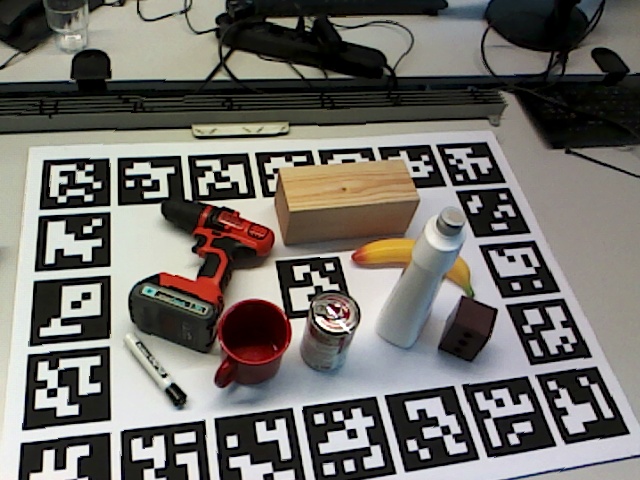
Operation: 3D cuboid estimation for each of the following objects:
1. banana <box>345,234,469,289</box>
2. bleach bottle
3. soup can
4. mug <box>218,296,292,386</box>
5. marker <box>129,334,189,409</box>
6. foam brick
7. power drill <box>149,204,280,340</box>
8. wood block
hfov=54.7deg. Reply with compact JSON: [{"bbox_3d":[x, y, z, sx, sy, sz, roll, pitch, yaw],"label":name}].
[{"bbox_3d":[0.138,0.026,0.965,0.197,0.039,0.074,10,65,-5],"label":"banana"},{"bbox_3d":[0.138,0.048,0.816,0.068,0.250,0.102,19,51,6],"label":"bleach bottle"},{"bbox_3d":[0.013,0.121,0.824,0.068,0.102,0.068,6,48,-7],"label":"soup can"},{"bbox_3d":[-0.093,0.142,0.810,0.093,0.081,0.117,32,57,12],"label":"mug"},{"bbox_3d":[-0.210,0.172,0.810,0.019,0.019,0.121,-32,64,-27],"label":"marker"},{"bbox_3d":[0.211,0.132,0.875,0.053,0.078,0.051,22,50,10],"label":"foam brick"},{"bbox_3d":[-0.170,0.040,0.900,0.184,0.057,0.187,21,51,3],"label":"power drill"},{"bbox_3d":[0.046,-0.053,0.982,0.205,0.091,0.090,-5,55,-13],"label":"wood block"}]
